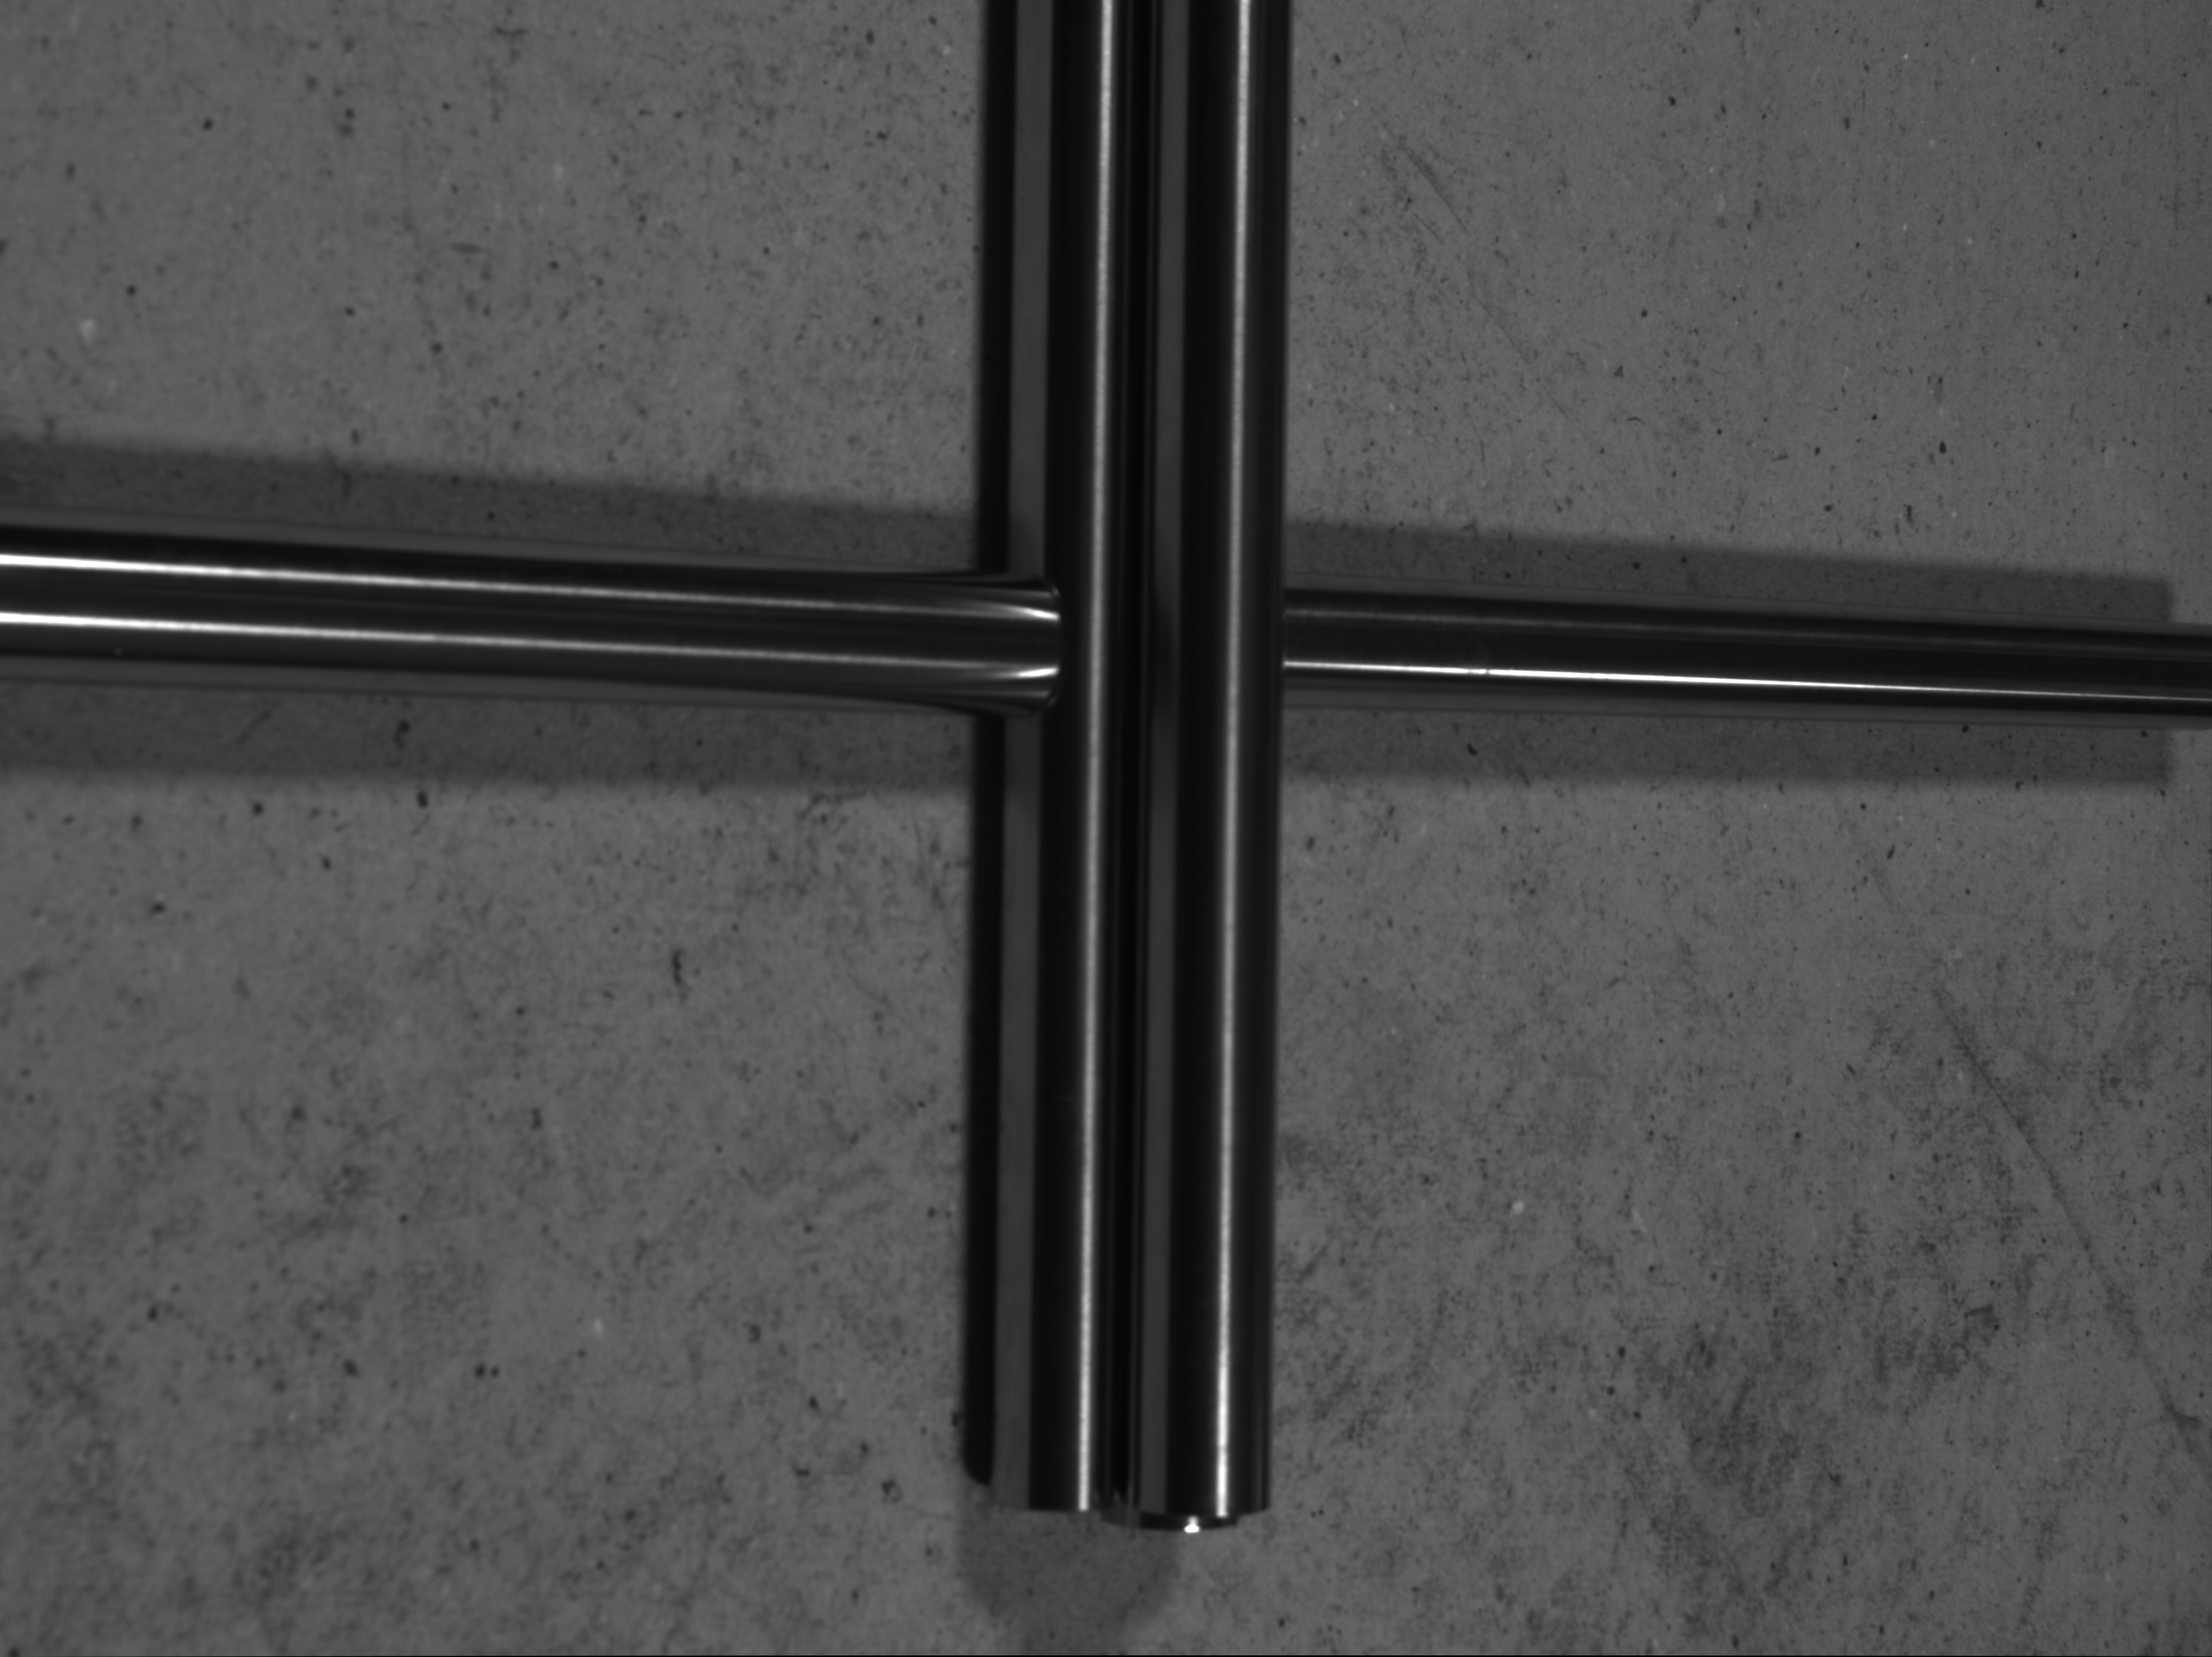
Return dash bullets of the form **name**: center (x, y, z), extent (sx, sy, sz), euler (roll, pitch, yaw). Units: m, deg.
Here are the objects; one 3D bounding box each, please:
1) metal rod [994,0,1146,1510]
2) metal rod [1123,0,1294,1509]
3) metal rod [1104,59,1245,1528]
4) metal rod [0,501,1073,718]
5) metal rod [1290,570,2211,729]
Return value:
- **metal rod**: center (-0.004, -0.034, 0.635), extent (0.025, 0.025, 0.300), euler (2, 89, -40)
- **metal rod**: center (0.018, -0.036, 0.626), extent (0.025, 0.025, 0.300), euler (2, 89, -40)
- **metal rod**: center (0.015, -0.028, 0.651), extent (0.025, 0.025, 0.300), euler (2, 89, -40)
- **metal rod**: center (-0.129, -0.033, 0.530), extent (0.301, 0.025, 0.025), euler (1, 89, -40)
- **metal rod**: center (0.141, -0.035, 0.754), extent (0.301, 0.025, 0.025), euler (0, 90, -40)
